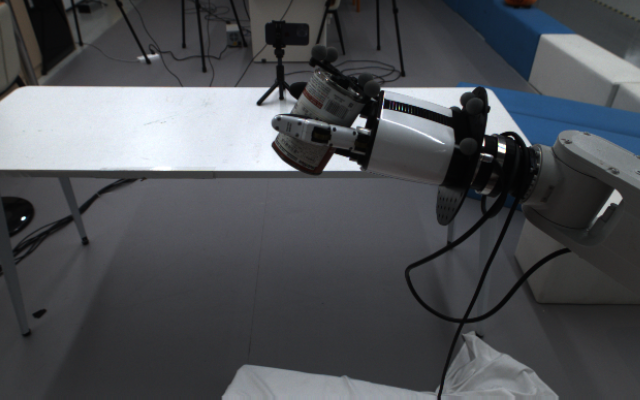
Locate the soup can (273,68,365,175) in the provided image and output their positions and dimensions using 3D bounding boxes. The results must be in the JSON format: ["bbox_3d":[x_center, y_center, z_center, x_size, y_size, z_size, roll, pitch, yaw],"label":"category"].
[{"bbox_3d":[0.000,-0.088,0.548,0.067,0.101,0.067,28,22,-12],"label":"soup can"}]
